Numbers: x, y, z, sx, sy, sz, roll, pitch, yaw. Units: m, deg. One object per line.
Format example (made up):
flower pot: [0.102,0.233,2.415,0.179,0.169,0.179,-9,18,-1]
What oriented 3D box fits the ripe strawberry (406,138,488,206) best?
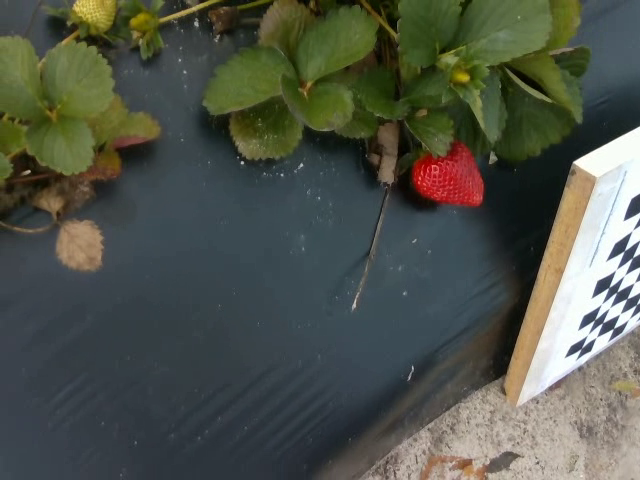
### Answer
ripe strawberry: [0.068,-0.032,0.320,0.046,0.037,0.037,41,18,-1]
